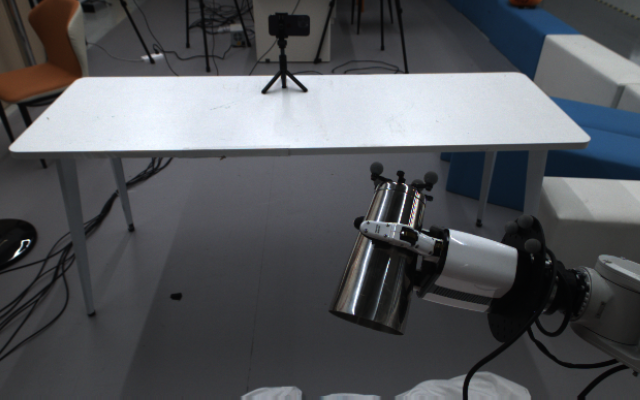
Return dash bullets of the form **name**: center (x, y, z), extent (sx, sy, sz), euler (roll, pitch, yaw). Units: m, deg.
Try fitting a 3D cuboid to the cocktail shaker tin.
- **cocktail shaker tin**: center (0.077, 0.067, 0.591), extent (0.093, 0.093, 0.170), euler (13, 70, 16)
